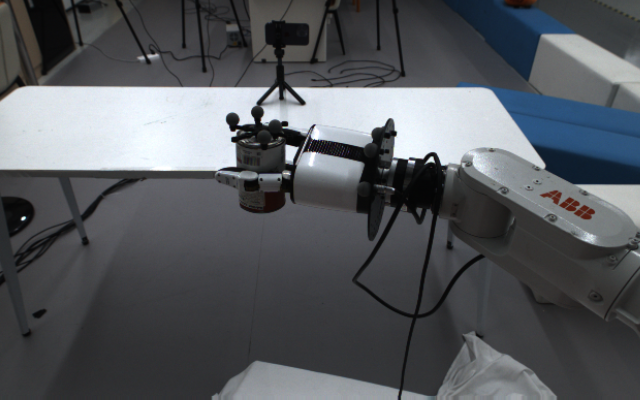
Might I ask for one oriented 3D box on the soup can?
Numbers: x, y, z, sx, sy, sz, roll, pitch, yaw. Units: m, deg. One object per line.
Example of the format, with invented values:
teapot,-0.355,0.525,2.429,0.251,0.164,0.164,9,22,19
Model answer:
soup can,-0.079,-0.041,0.658,0.067,0.101,0.067,2,32,-1
